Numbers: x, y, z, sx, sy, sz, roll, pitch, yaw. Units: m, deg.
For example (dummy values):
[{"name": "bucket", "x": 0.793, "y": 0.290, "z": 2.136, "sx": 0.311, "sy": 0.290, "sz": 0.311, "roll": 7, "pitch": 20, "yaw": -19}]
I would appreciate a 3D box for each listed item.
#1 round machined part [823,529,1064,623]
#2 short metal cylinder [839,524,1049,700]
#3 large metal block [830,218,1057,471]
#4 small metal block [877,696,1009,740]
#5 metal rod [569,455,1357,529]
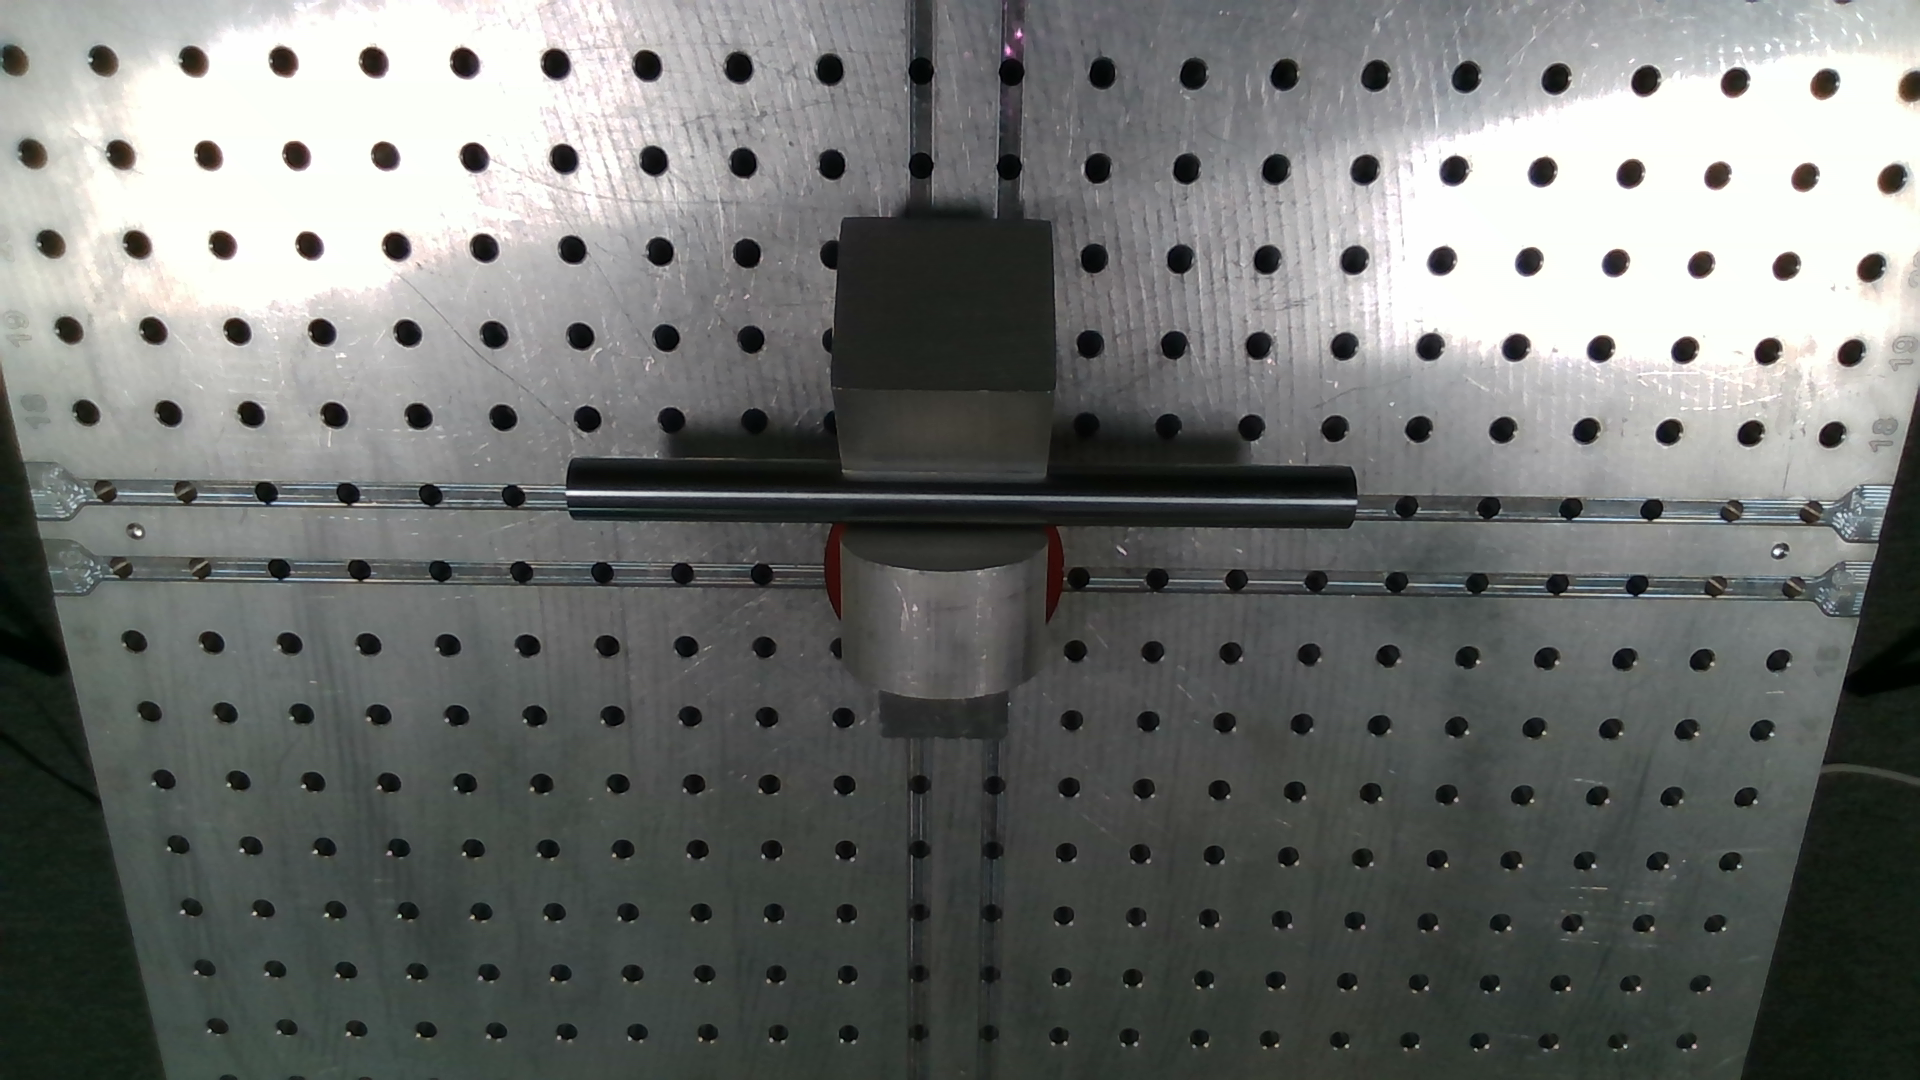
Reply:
[{"name": "round machined part", "x": -0.007, "y": 0.006, "z": 0.579, "sx": 0.098, "sy": 0.042, "sz": 0.098, "roll": 0, "pitch": 110, "yaw": 0}, {"name": "short metal cylinder", "x": -0.006, "y": 0.022, "z": 0.534, "sx": 0.080, "sy": 0.080, "sz": 0.050, "roll": 1, "pitch": 110, "yaw": 0}, {"name": "large metal block", "x": -0.006, "y": -0.074, "z": 0.524, "sx": 0.080, "sy": 0.080, "sz": 0.050, "roll": 1, "pitch": 151, "yaw": 0}, {"name": "small metal block", "x": -0.006, "y": 0.056, "z": 0.550, "sx": 0.050, "sy": 0.050, "sz": 0.025, "roll": 1, "pitch": 110, "yaw": 0}, {"name": "metal rod", "x": 0.001, "y": -0.019, "z": 0.536, "sx": 0.300, "sy": 0.025, "sz": 0.025, "roll": 1, "pitch": 110, "yaw": 0}]
